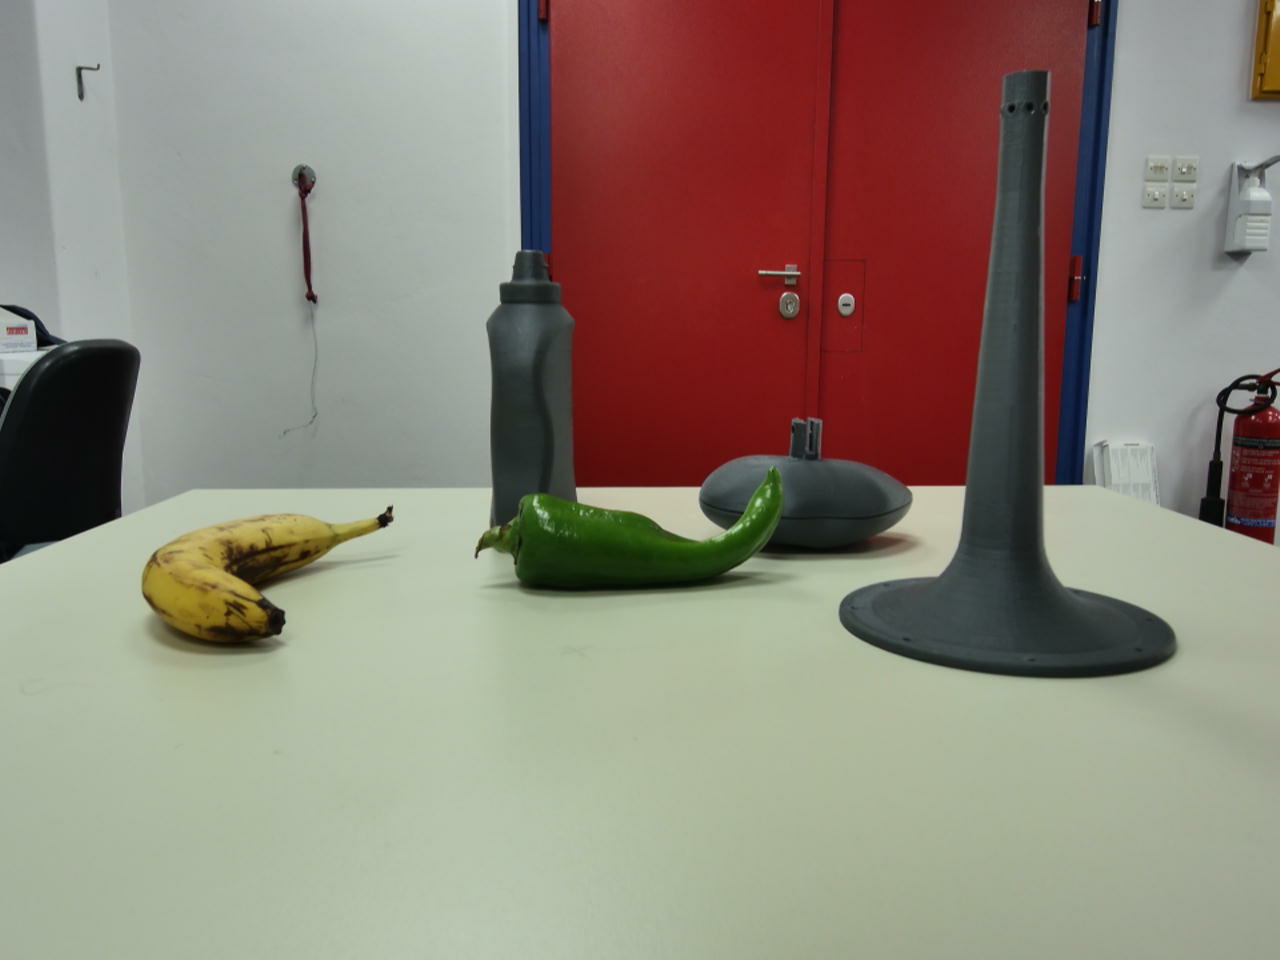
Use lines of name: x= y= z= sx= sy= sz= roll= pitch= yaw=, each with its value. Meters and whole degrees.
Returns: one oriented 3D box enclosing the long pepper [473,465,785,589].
long pepper: x=-0.004 y=0.026 z=0.557 sx=0.175 sy=0.065 sz=0.058 roll=-1 pitch=7 yaw=-2
